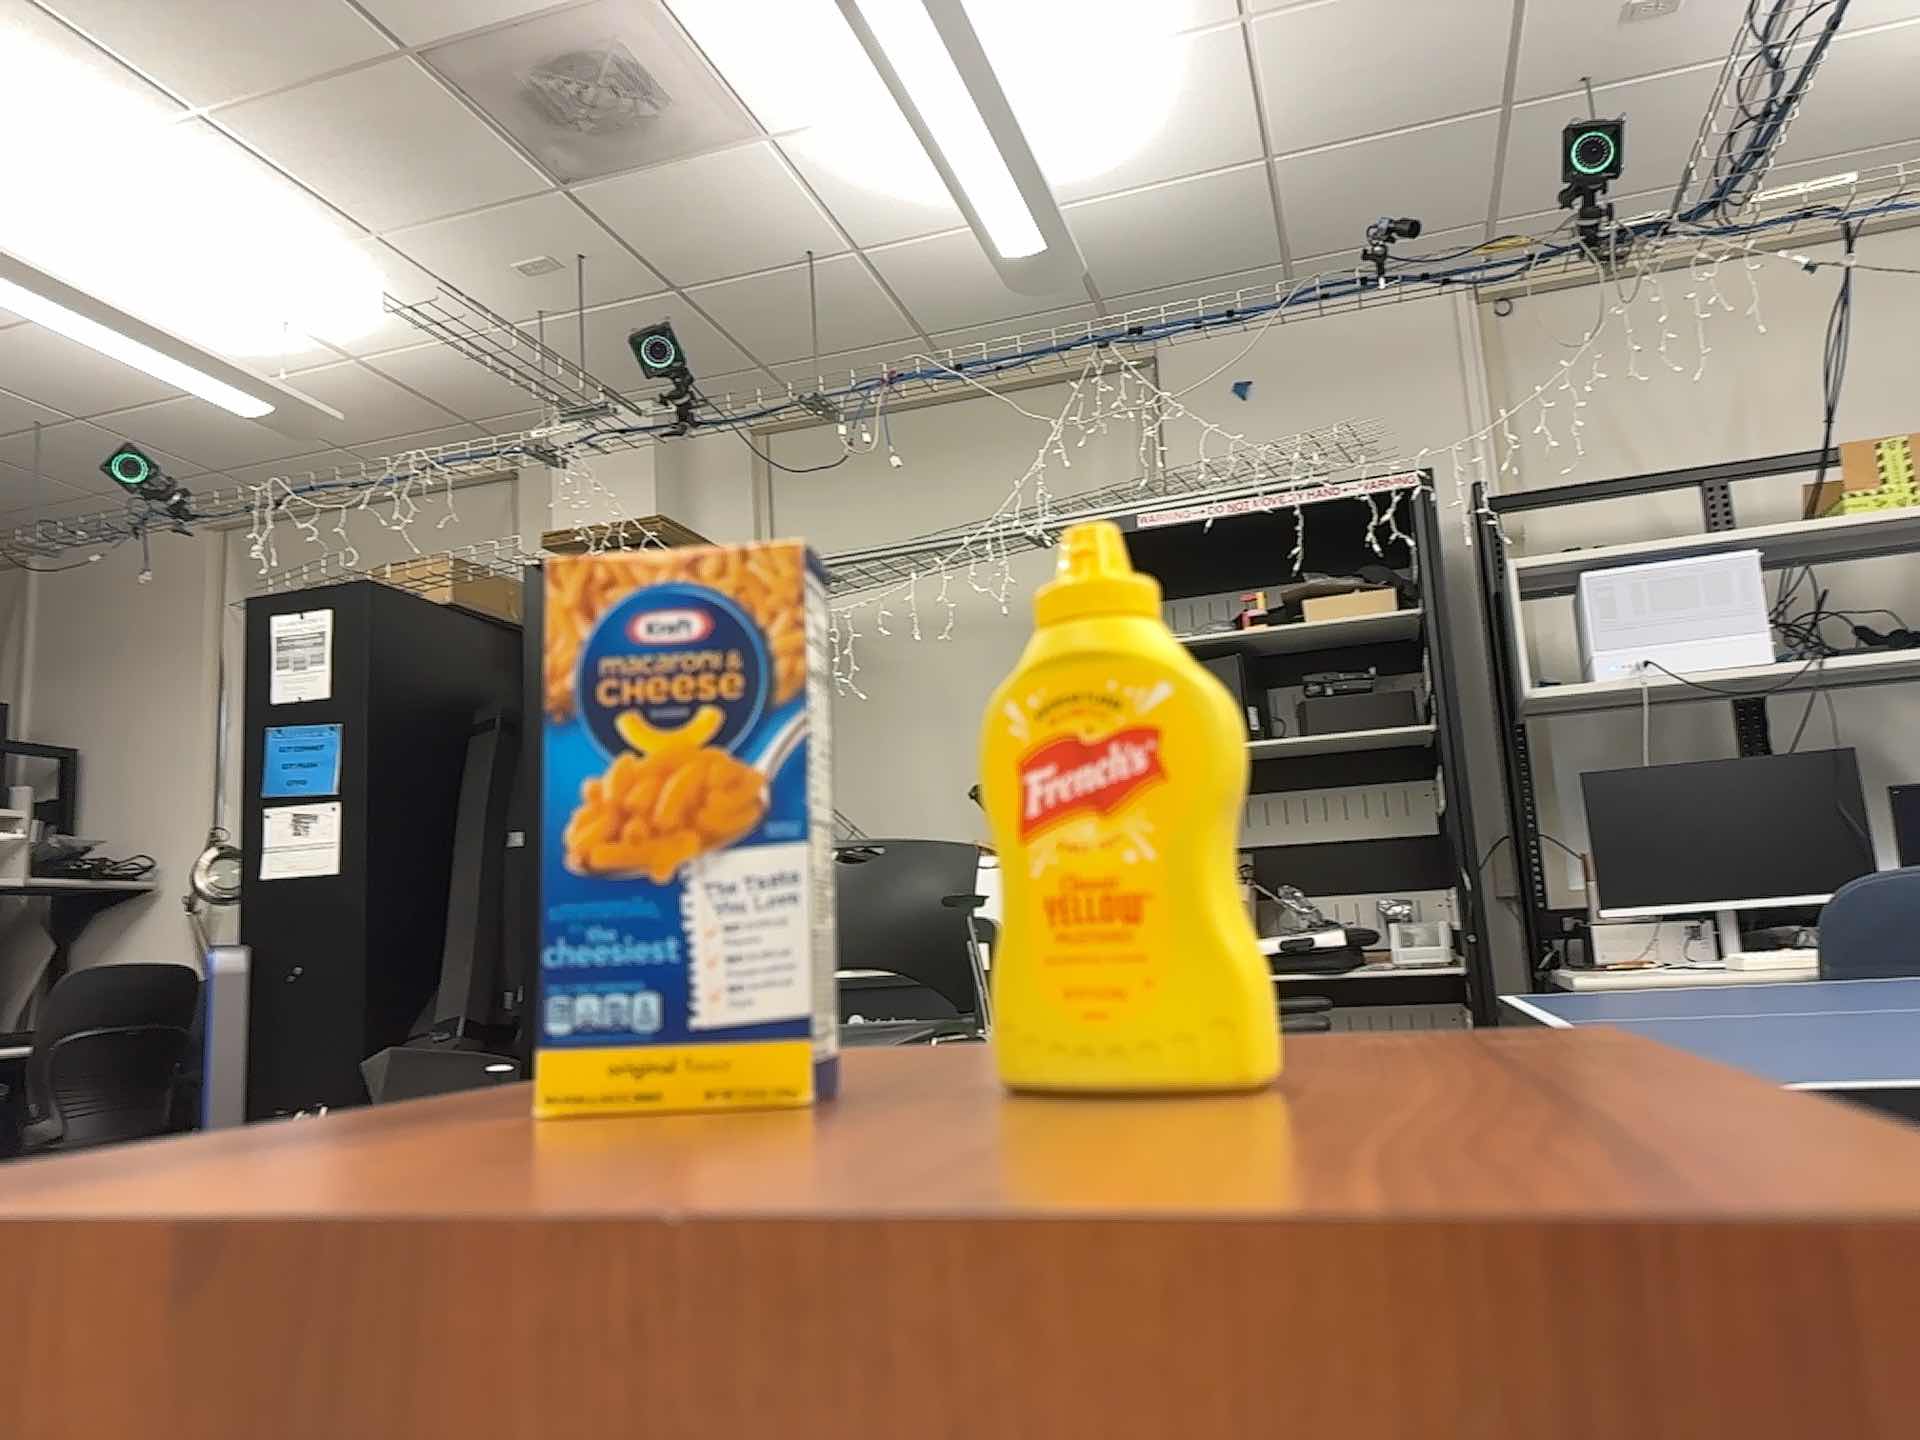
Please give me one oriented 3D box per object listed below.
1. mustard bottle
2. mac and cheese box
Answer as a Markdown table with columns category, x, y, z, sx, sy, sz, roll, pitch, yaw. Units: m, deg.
| category | x | y | z | sx | sy | sz | roll | pitch | yaw |
| --- | --- | --- | --- | --- | --- | --- | --- | --- | --- |
| mustard bottle | 0.049 | 0.026 | 0.423 | 0.092 | 0.184 | 0.054 | -11 | -12 | 34 |
| mac and cheese box | -0.091 | 0.039 | 0.450 | 0.088 | 0.181 | 0.035 | -5 | -10 | 11 |
